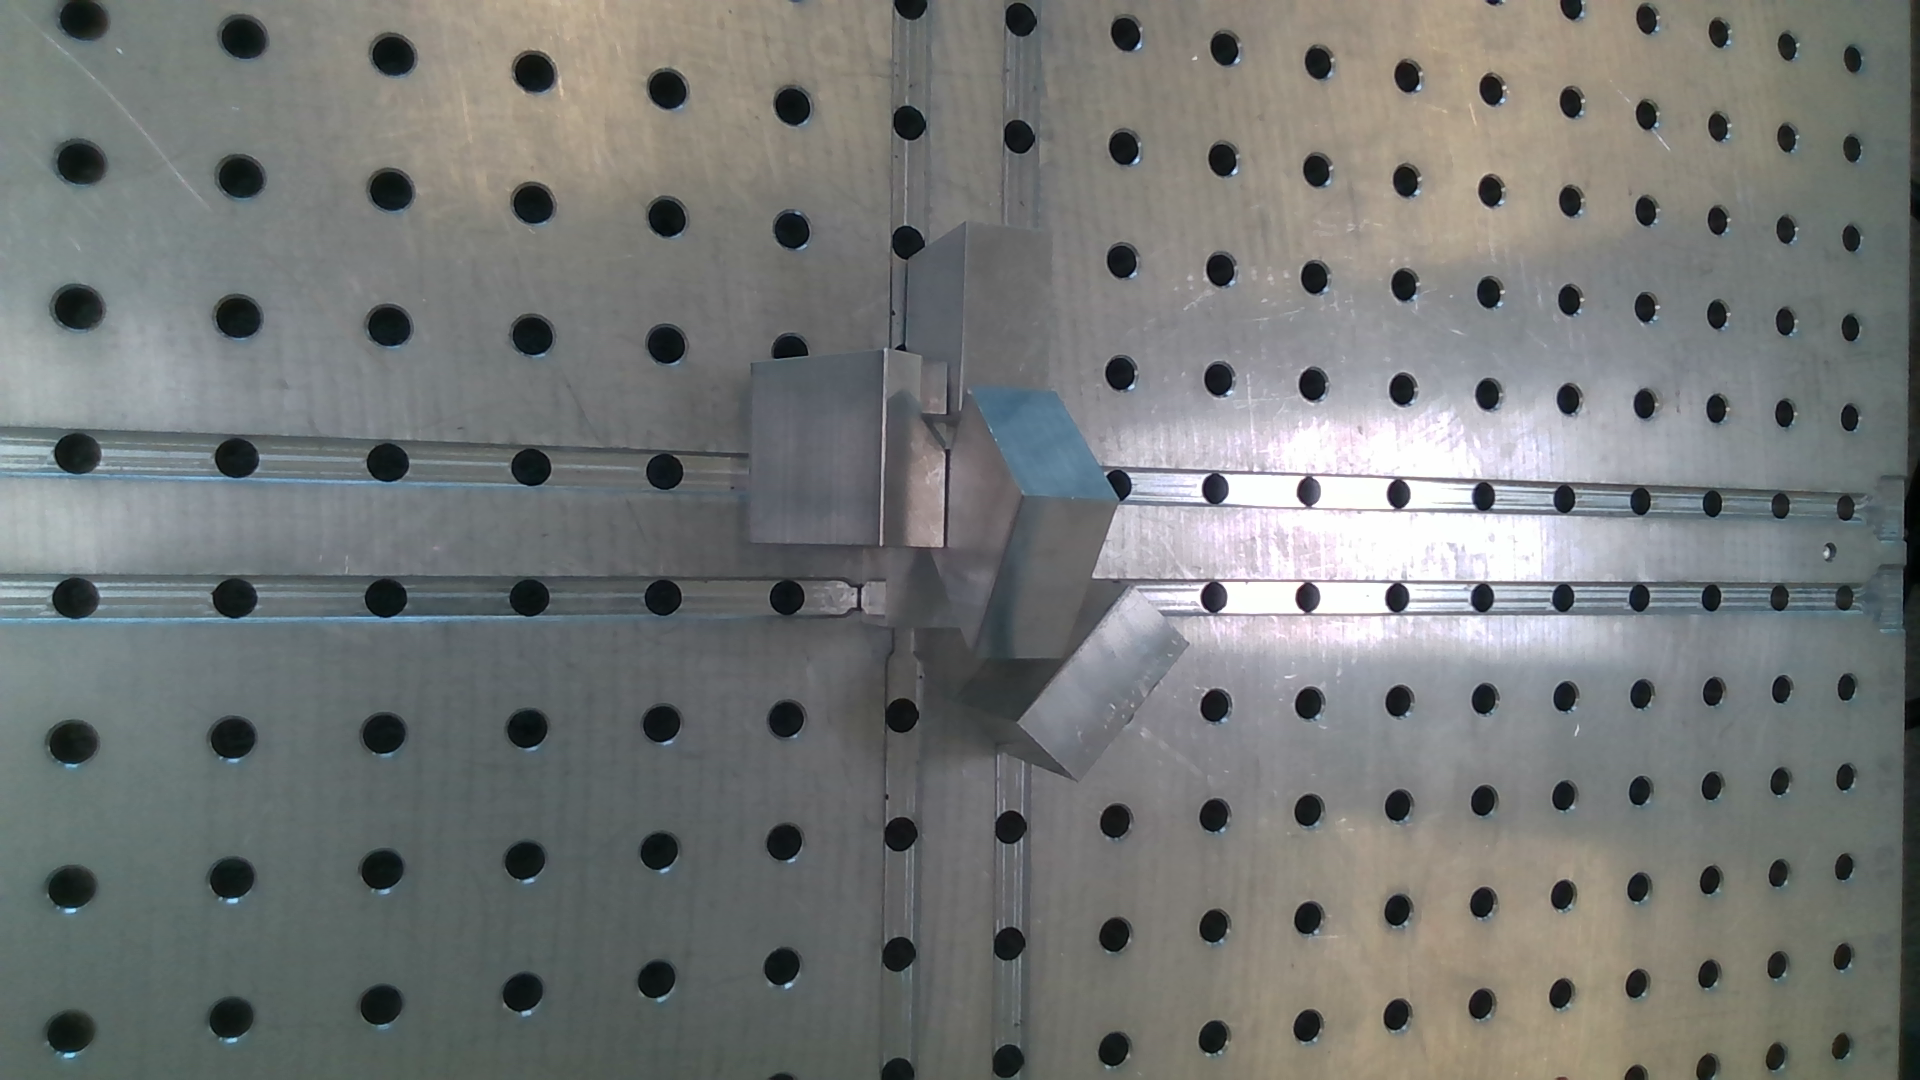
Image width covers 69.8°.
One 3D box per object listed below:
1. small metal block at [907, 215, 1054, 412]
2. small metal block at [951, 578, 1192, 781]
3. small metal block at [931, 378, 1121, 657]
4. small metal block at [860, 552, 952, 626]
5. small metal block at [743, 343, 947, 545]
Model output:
[{"bbox_3d":[0.004,-0.059,0.384,0.025,0.050,0.050,2,89,-20],"label":"small metal block"},{"bbox_3d":[0.031,0.038,0.394,0.025,0.050,0.050,45,76,-15],"label":"small metal block"},{"bbox_3d":[0.014,-0.006,0.351,0.025,0.050,0.050,3,126,-20],"label":"small metal block"},{"bbox_3d":[-0.001,-0.001,0.396,0.050,0.025,0.050,2,90,-20],"label":"small metal block"},{"bbox_3d":[-0.031,-0.024,0.369,0.025,0.050,0.050,2,89,-52],"label":"small metal block"}]
